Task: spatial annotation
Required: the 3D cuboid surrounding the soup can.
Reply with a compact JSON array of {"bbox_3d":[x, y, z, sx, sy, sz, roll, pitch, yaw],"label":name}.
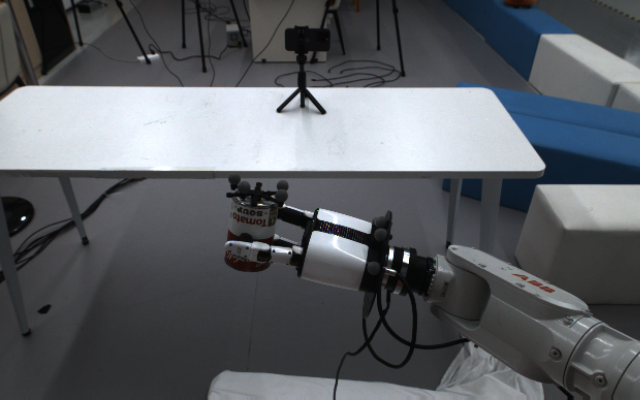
[{"bbox_3d":[-0.097,0.044,0.693,0.067,0.101,0.067,9,20,-3],"label":"soup can"}]
